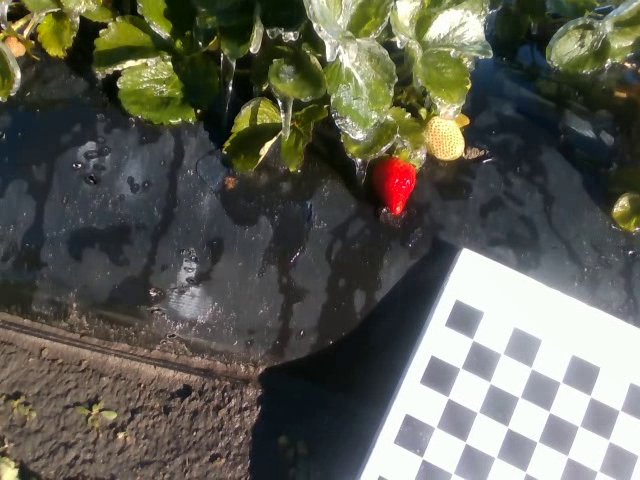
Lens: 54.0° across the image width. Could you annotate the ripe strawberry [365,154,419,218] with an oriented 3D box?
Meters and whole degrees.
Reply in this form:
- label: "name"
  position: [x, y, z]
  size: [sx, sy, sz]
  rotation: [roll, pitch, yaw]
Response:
- label: "ripe strawberry"
  position: [0.063, -0.046, 0.507]
  size: [0.041, 0.052, 0.040]
  rotation: [10, -23, -1]
